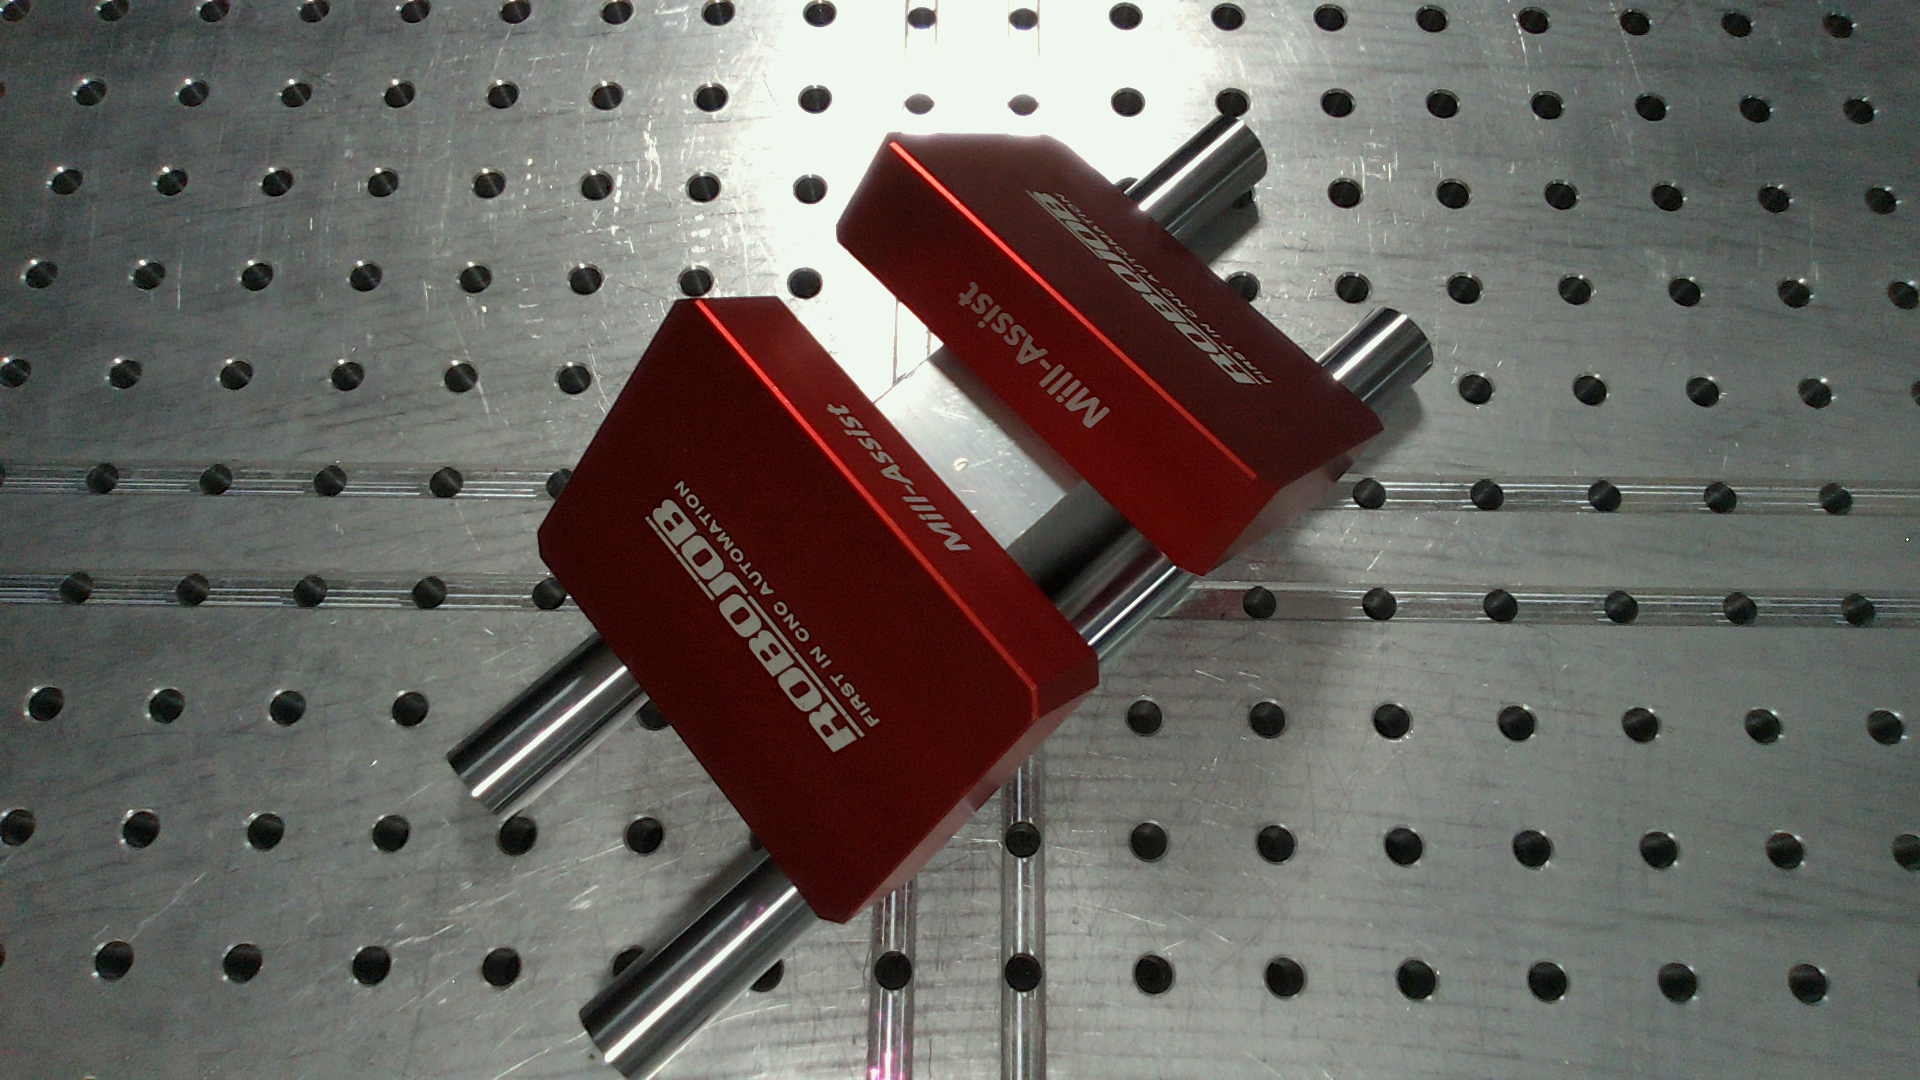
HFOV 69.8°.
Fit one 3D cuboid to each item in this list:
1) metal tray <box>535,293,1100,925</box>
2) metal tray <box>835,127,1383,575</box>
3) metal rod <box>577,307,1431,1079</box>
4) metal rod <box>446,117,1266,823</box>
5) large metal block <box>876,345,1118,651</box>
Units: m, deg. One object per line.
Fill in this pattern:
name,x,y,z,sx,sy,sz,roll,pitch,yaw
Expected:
metal tray,-0.040,0.015,0.334,0.130,0.030,0.090,48,120,15
metal tray,0.041,-0.055,0.359,0.130,0.030,0.090,45,32,14
metal rod,0.022,0.034,0.385,0.300,0.025,0.025,-40,75,-13
metal rod,-0.021,-0.029,0.408,0.300,0.025,0.025,-41,75,-14
large metal block,0.007,-0.013,0.372,0.080,0.080,0.050,-40,75,-13
